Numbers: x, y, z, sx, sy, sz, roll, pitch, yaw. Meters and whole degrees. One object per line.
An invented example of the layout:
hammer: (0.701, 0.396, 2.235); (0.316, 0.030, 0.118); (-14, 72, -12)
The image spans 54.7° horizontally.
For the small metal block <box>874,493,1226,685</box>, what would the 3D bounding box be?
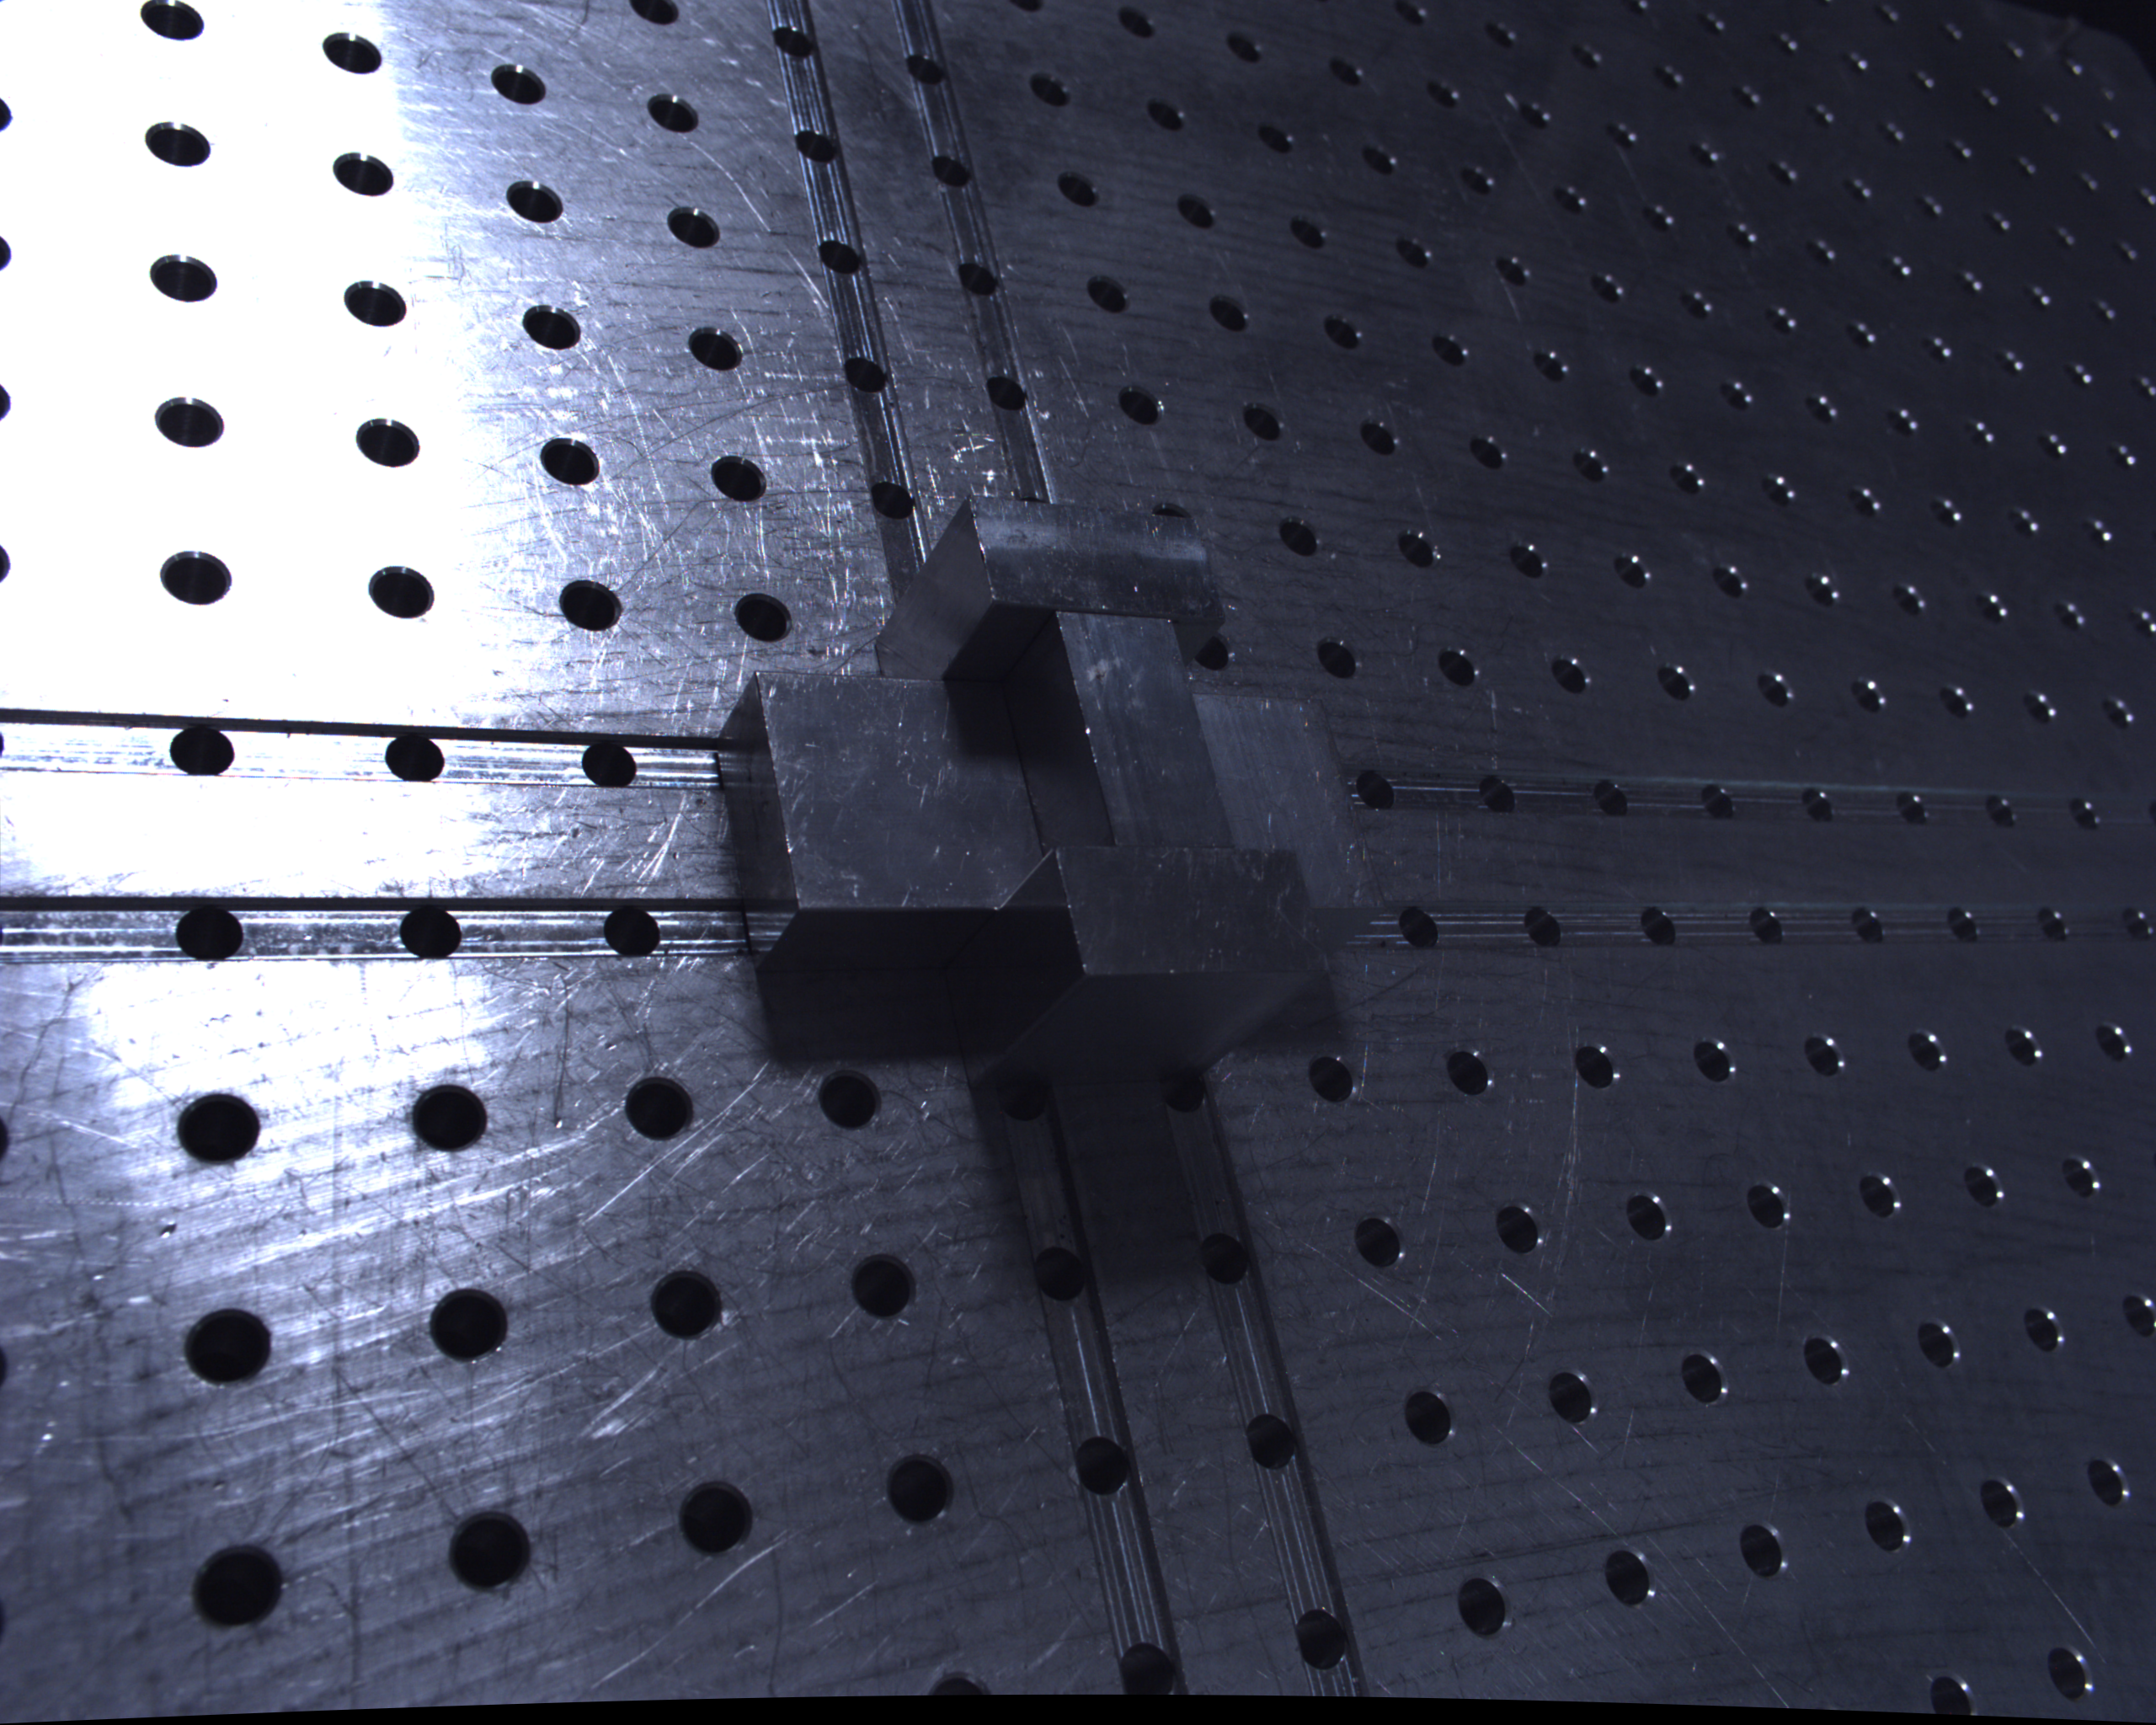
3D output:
small metal block: (-0.007, -0.047, 0.418); (0.050, 0.050, 0.025); (1, 62, -28)

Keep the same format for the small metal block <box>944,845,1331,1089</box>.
small metal block: (0.010, 0.020, 0.386); (0.050, 0.050, 0.025); (1, 62, -28)

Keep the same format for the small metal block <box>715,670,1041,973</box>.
small metal block: (-0.037, -0.007, 0.393); (0.050, 0.025, 0.050); (0, 62, -28)

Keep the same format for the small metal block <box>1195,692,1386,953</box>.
small metal block: (0.030, -0.007, 0.430); (0.050, 0.025, 0.050); (1, 61, -28)

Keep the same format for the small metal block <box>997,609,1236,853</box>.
small metal block: (0.002, -0.013, 0.402); (0.025, 0.050, 0.050); (1, 62, -28)
